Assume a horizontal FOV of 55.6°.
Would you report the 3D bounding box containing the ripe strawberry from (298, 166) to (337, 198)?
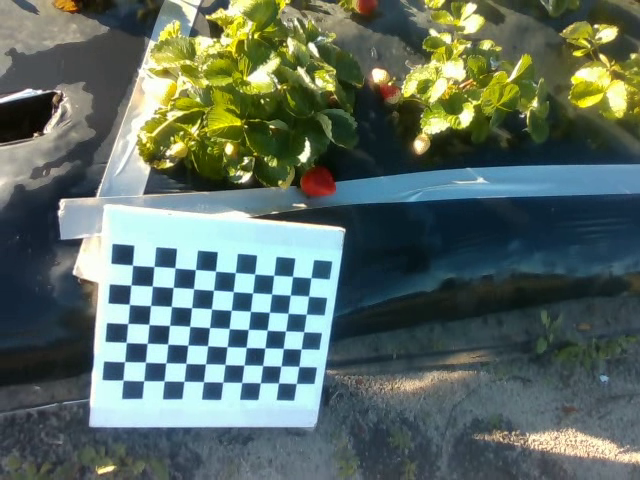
[{"bbox_3d":[0.000,-0.074,0.768,0.048,0.045,0.063,27,7,-46],"label":"ripe strawberry"}]
